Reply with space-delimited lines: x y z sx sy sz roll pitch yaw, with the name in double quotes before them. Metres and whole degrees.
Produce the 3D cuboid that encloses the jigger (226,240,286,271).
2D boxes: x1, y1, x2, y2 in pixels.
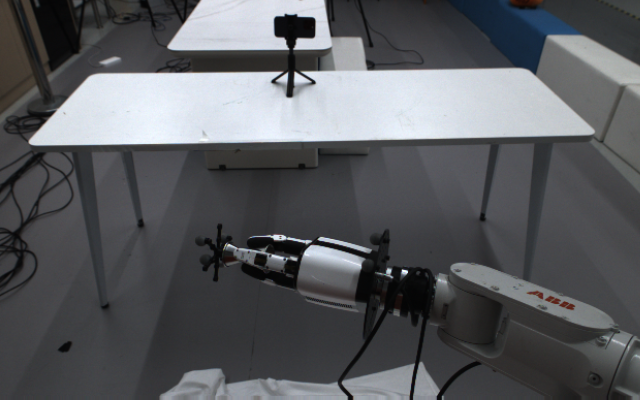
"jigger" -0.100 0.080 0.730 0.071 0.043 0.043 3 34 15
